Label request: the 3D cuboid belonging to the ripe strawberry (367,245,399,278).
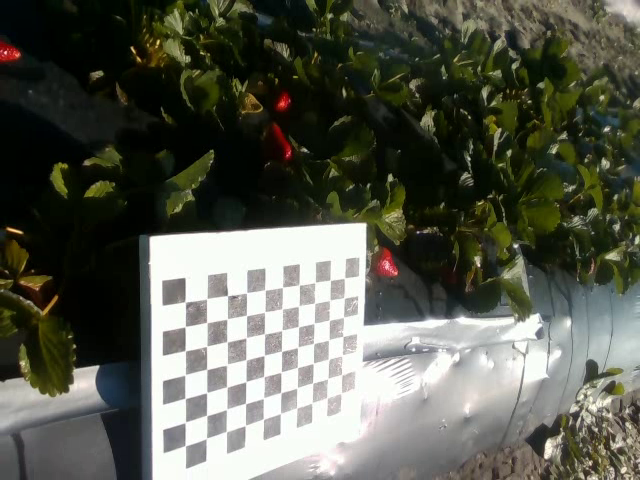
[{"bbox_3d":[0.094,0.036,0.856,0.029,0.048,0.055,8,-35,49],"label":"ripe strawberry"}]
